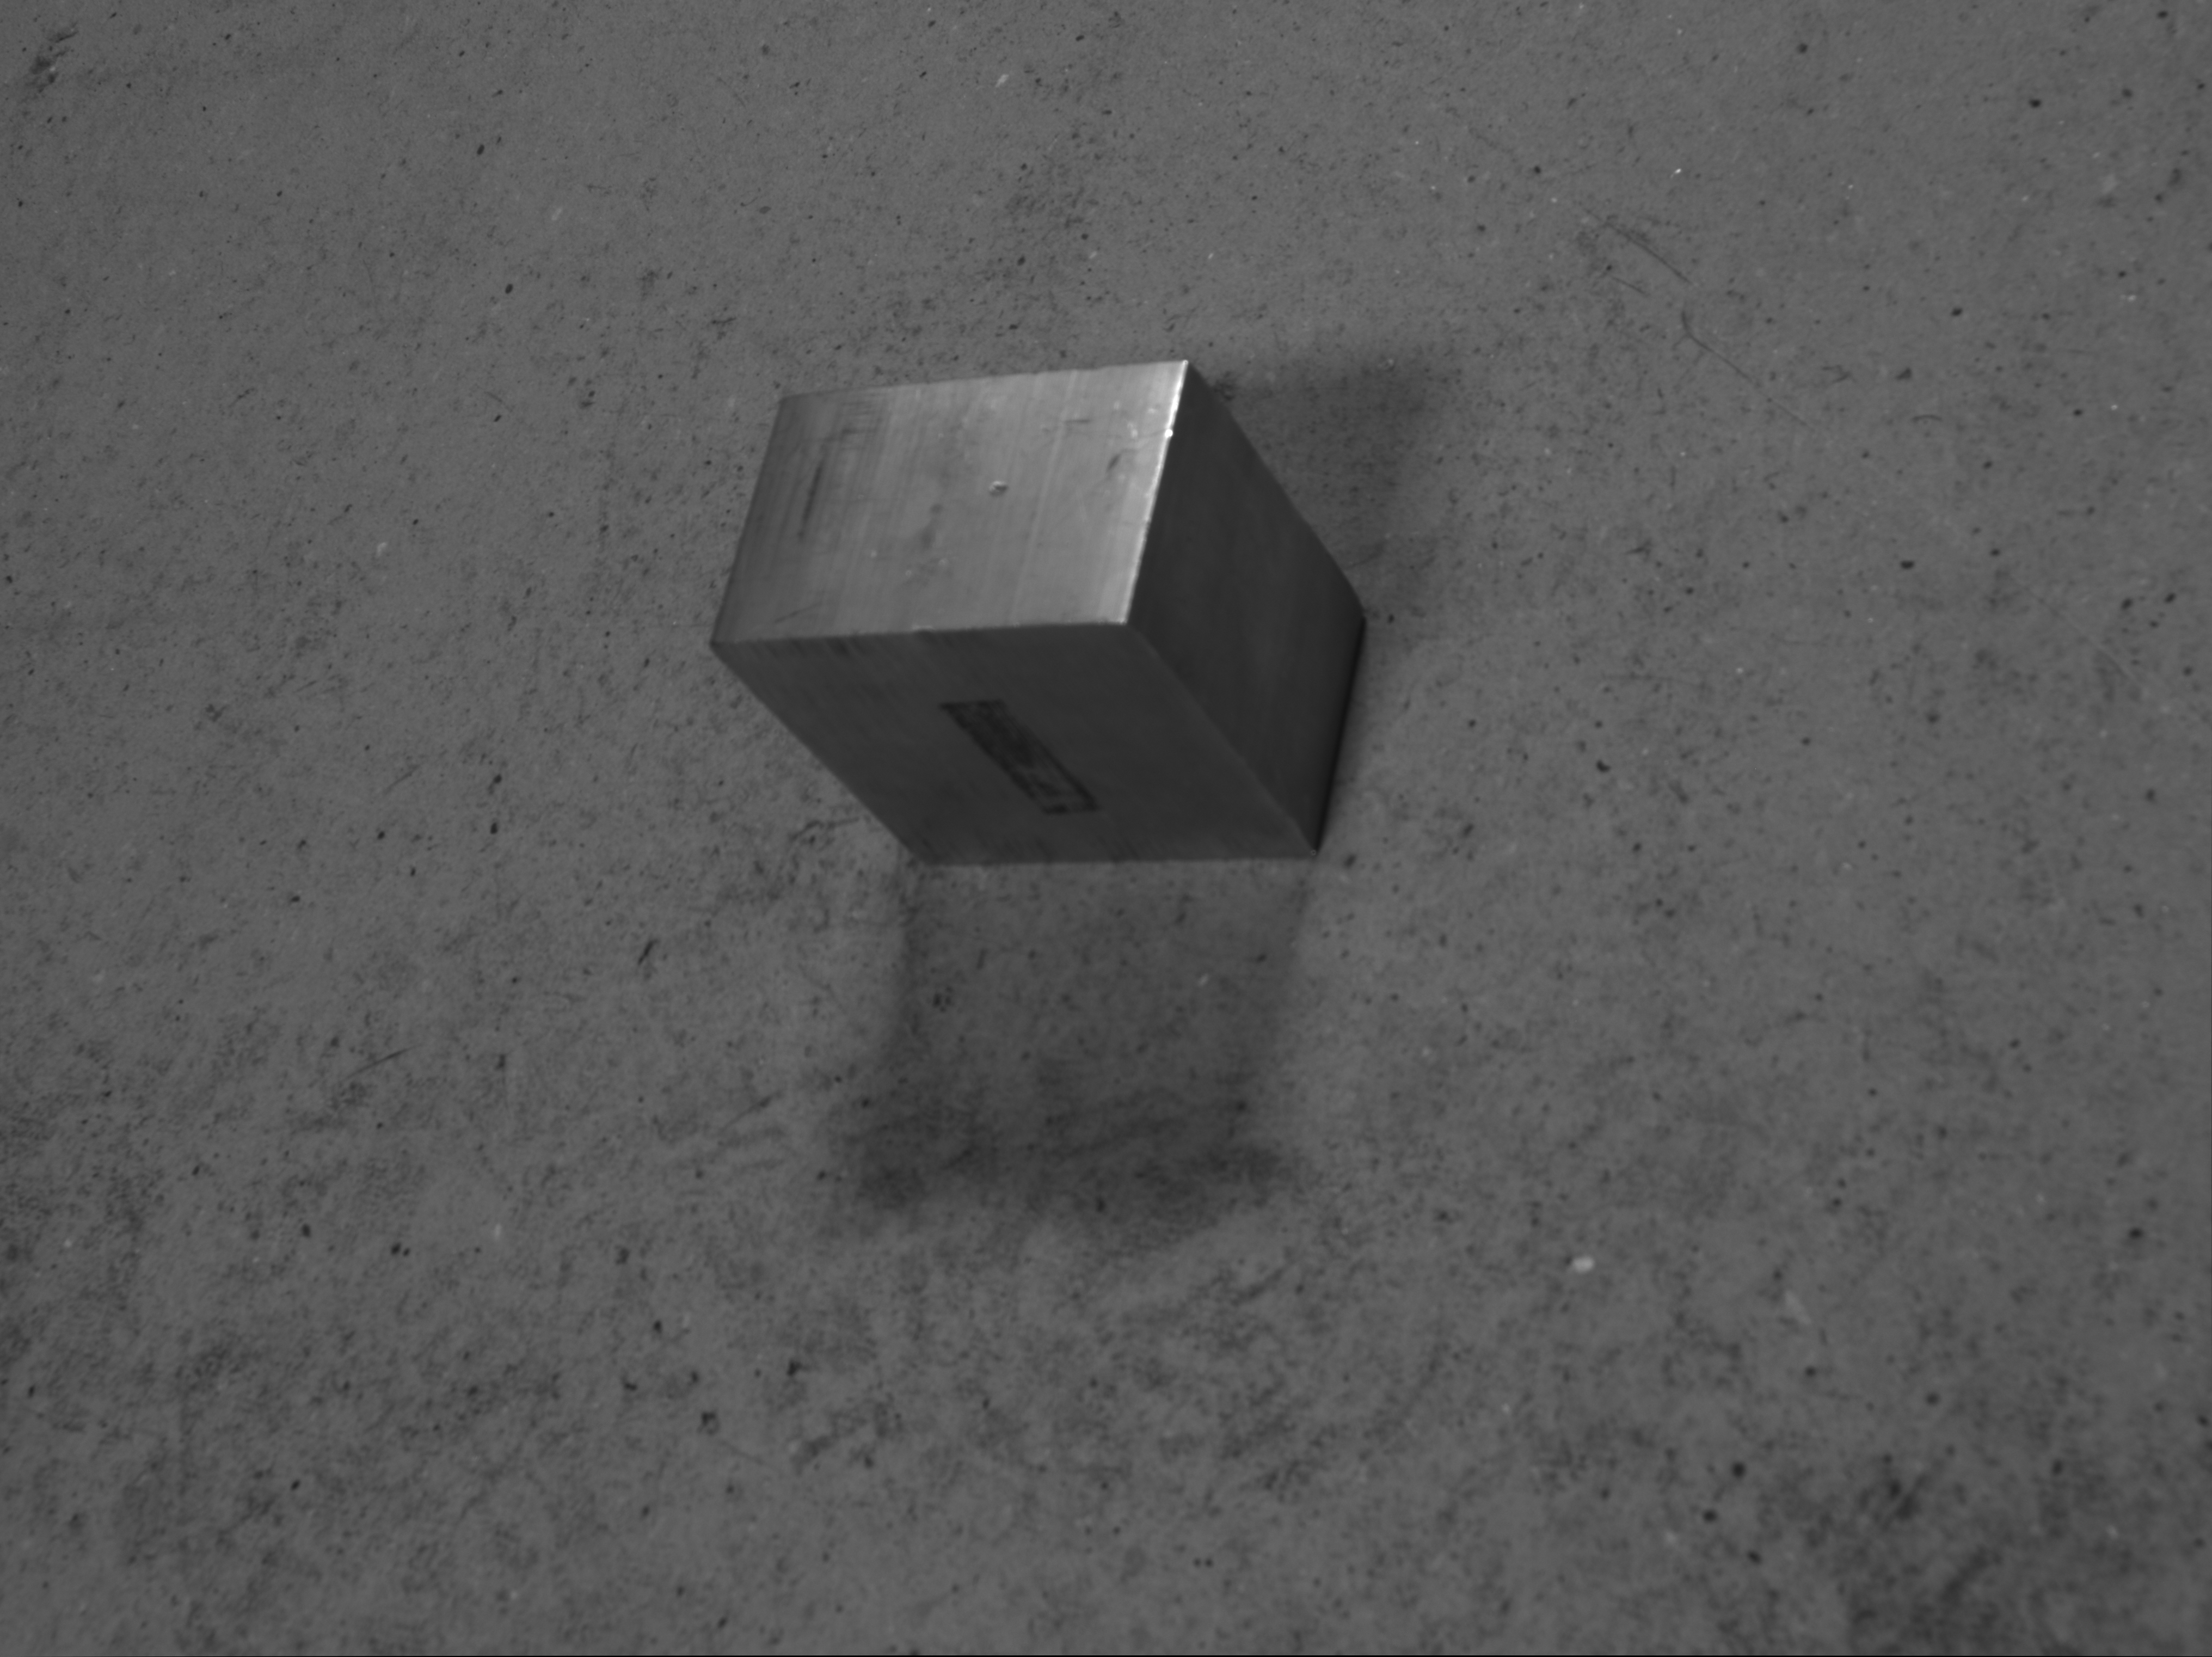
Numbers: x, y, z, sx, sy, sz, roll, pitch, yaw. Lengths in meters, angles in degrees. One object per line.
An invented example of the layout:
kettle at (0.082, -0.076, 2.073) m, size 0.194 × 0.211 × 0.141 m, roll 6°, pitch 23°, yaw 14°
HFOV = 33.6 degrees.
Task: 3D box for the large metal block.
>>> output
large metal block at (-0.008, -0.034, 0.635) m, size 0.080 × 0.080 × 0.050 m, roll -1°, pitch 61°, yaw 28°
